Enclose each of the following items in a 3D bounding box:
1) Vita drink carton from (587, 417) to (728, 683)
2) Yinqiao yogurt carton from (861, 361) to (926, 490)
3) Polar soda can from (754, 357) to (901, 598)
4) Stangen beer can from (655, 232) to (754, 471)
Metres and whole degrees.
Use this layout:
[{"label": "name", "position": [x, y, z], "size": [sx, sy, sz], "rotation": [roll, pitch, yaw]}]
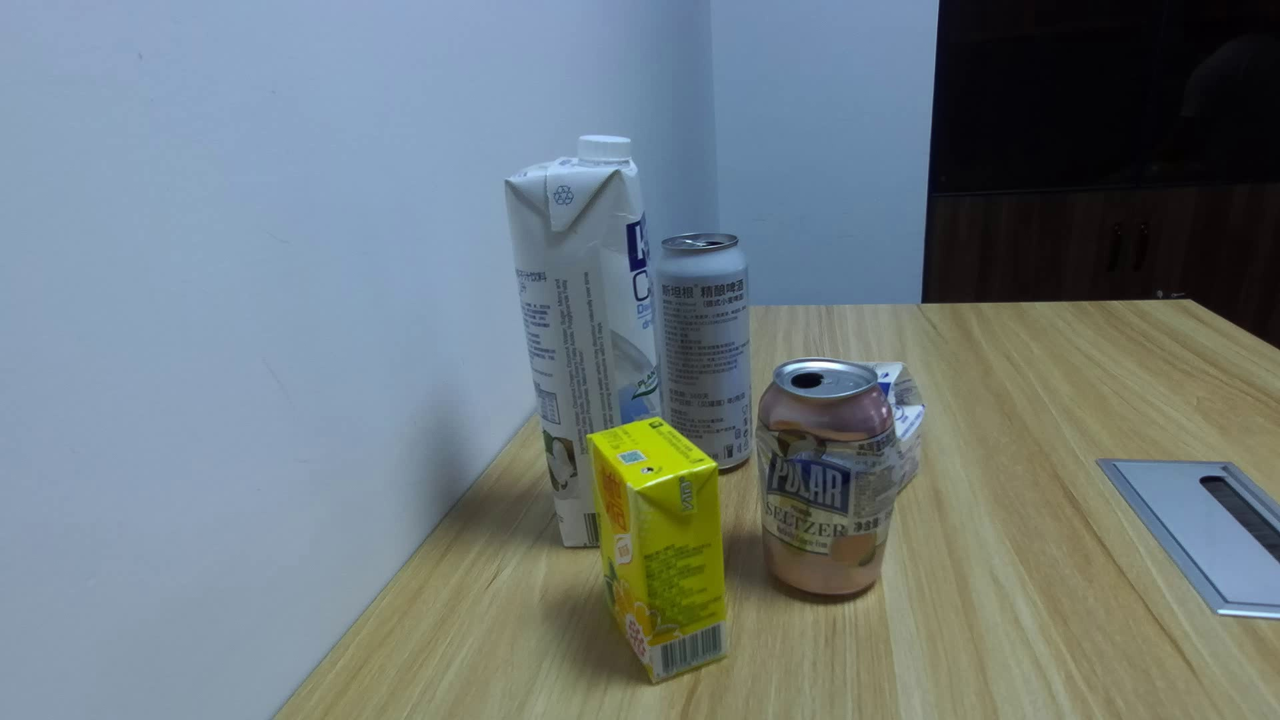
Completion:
[{"label": "Vita drink carton", "position": [0.008, 0.092, 0.353], "size": [0.044, 0.109, 0.066], "rotation": [-12, 21, -20]}, {"label": "Yinqiao yogurt carton", "position": [0.147, 0.042, 0.482], "size": [0.083, 0.093, 0.077], "rotation": [12, 25, 40]}, {"label": "Polar soda can", "position": [0.100, 0.064, 0.391], "size": [0.067, 0.122, 0.074], "rotation": [-7, 21, -10]}, {"label": "Stangen beer can", "position": [0.048, -0.003, 0.517], "size": [0.067, 0.171, 0.067], "rotation": [-4, 16, 1]}]
